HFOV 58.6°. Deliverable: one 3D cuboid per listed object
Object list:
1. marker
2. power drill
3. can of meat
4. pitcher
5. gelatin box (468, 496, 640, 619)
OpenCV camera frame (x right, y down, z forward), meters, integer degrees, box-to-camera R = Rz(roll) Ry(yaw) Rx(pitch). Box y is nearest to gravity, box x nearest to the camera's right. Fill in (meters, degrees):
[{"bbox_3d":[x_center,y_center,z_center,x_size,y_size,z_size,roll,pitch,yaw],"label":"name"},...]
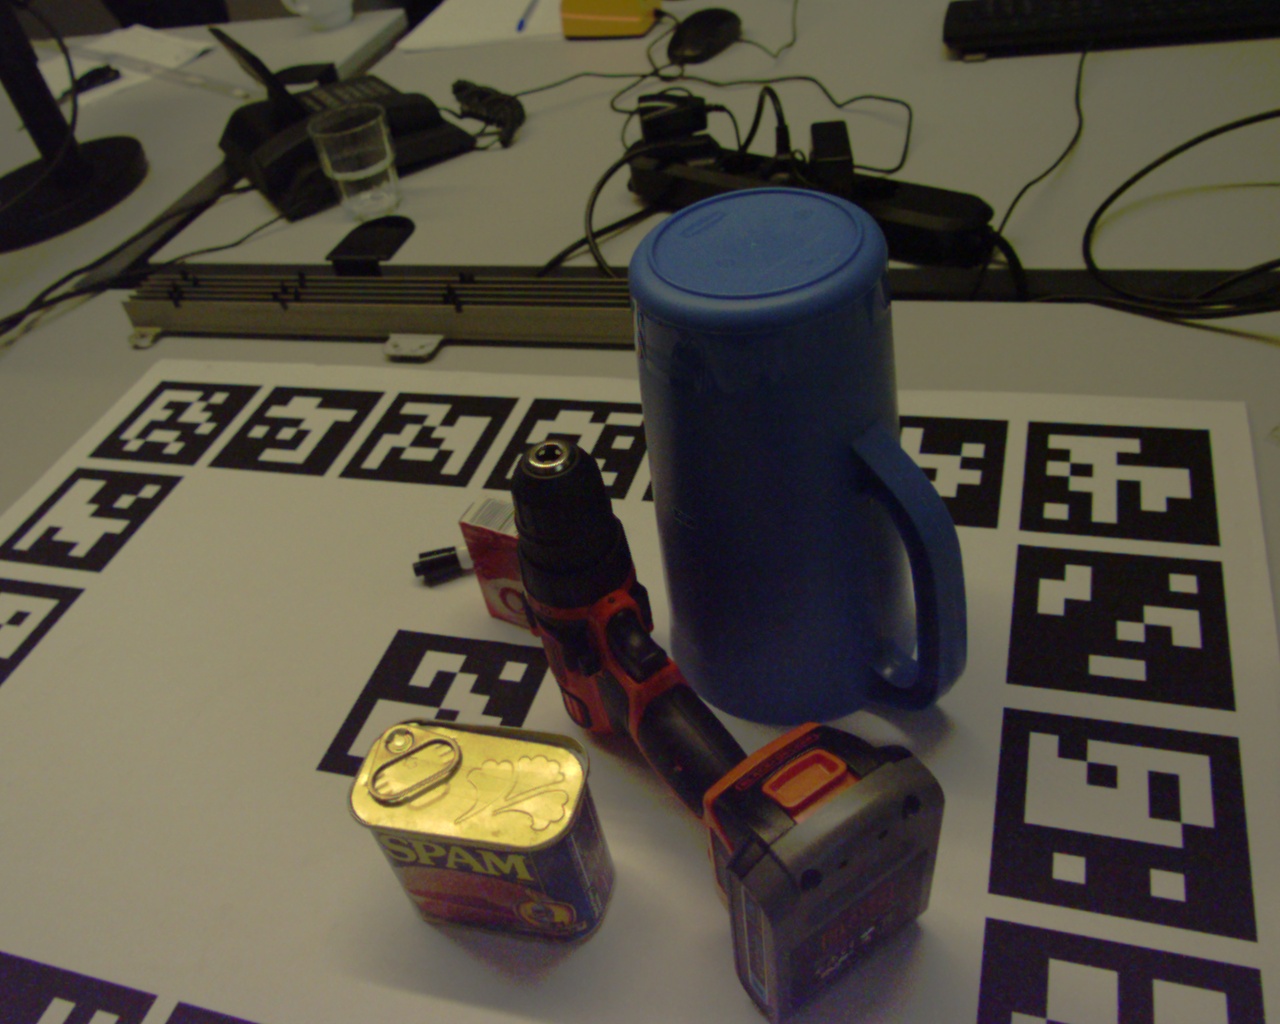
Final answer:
[{"bbox_3d":[-0.082,0.010,0.736,0.121,0.019,0.020,-14,42,0],"label":"marker"},{"bbox_3d":[0.005,0.069,0.530,0.057,0.183,0.189,-35,52,-20],"label":"power drill"},{"bbox_3d":[-0.070,0.141,0.540,0.103,0.083,0.057,4,42,18],"label":"can of meat"},{"bbox_3d":[0.076,-0.014,0.569,0.132,0.240,0.191,-37,40,-21],"label":"pitcher"},{"bbox_3d":[-0.050,0.034,0.666,0.090,0.073,0.030,14,52,25],"label":"gelatin box"}]
